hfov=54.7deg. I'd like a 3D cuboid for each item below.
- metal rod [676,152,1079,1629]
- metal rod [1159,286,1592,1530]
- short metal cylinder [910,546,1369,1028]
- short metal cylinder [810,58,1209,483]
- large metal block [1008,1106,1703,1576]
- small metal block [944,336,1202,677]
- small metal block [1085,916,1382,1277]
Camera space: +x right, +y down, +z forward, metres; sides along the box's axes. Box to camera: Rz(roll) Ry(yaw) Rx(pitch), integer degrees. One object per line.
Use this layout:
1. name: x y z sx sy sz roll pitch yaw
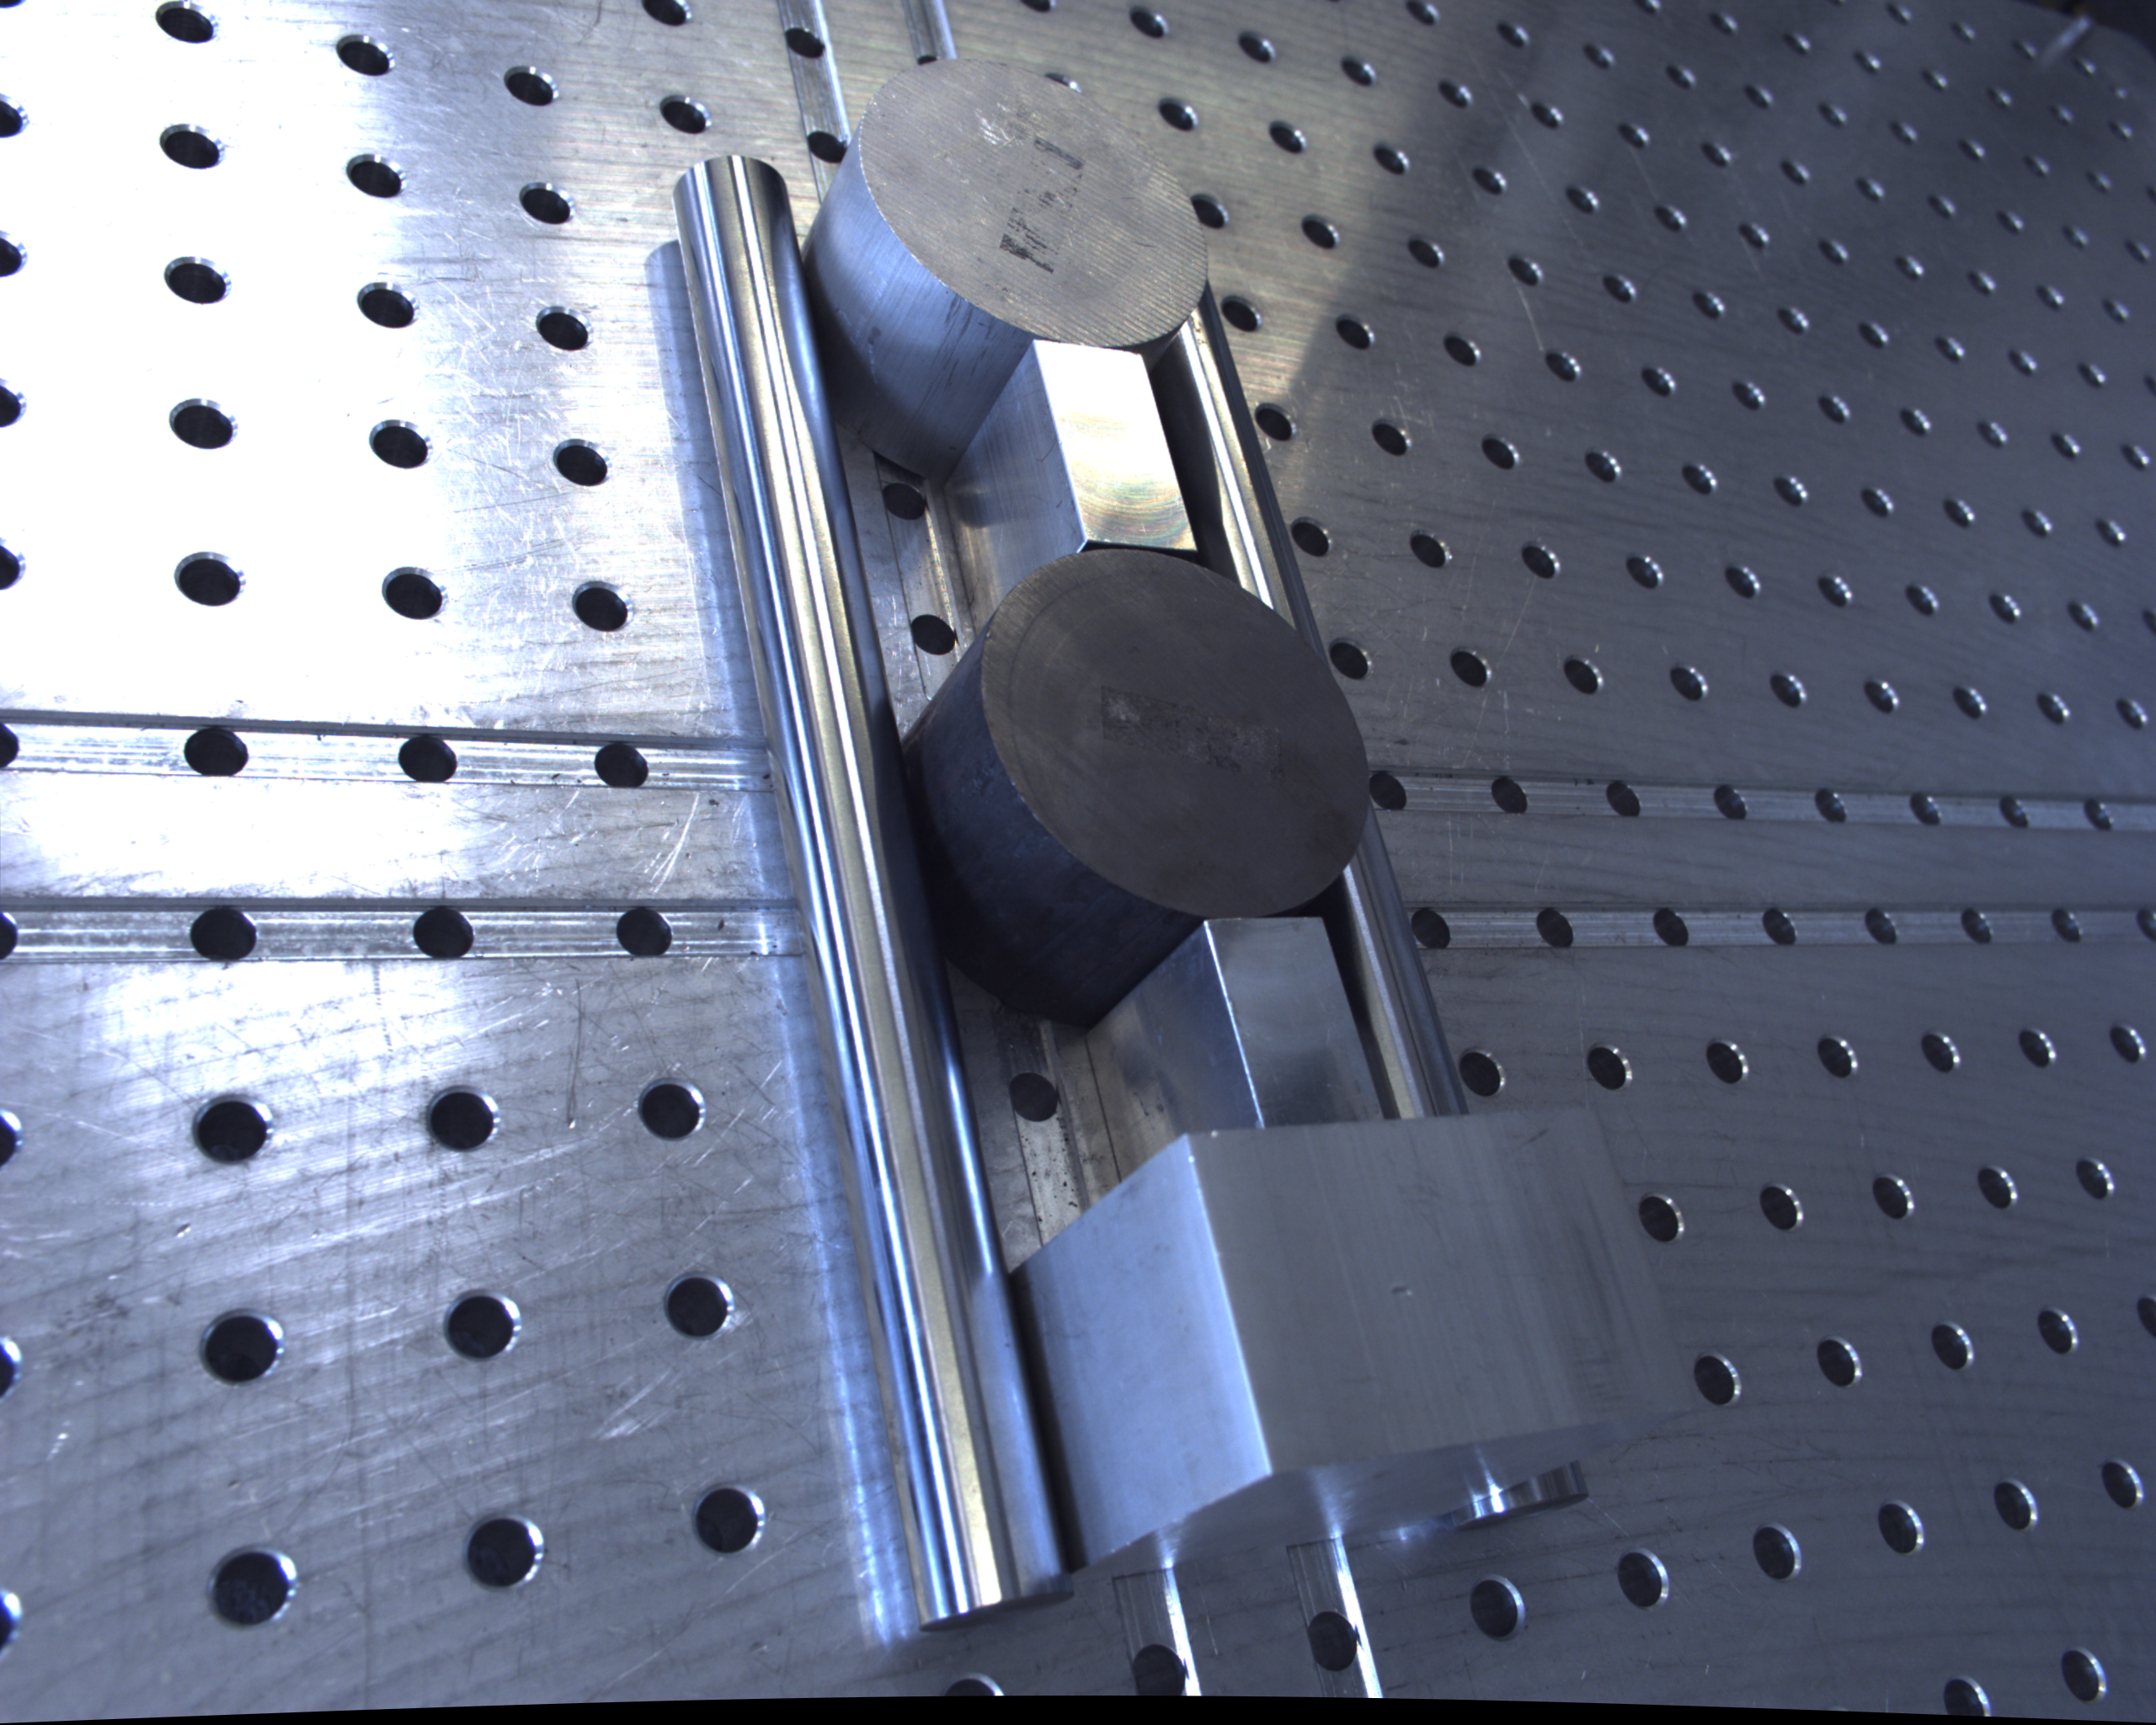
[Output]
1. metal rod: -0.044 -0.014 0.392 0.025 0.025 0.299 1 61 -28
2. metal rod: 0.049 -0.014 0.442 0.025 0.025 0.299 1 61 -28
3. short metal cylinder: 0.009 -0.014 0.405 0.081 0.050 0.080 14 56 -21
4. short metal cylinder: -0.019 -0.129 0.460 0.081 0.050 0.080 14 56 -21
5. large metal block: 0.039 0.080 0.345 0.081 0.080 0.050 1 62 -28
6. small metal block: -0.003 -0.072 0.433 0.025 0.050 0.050 1 62 -28
7. small metal block: 0.028 0.043 0.380 0.025 0.050 0.050 0 62 -28
